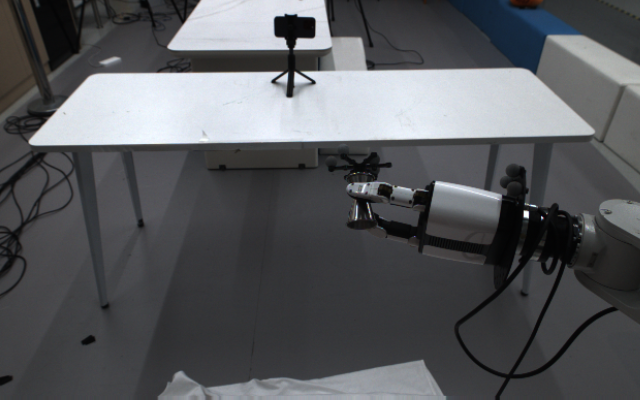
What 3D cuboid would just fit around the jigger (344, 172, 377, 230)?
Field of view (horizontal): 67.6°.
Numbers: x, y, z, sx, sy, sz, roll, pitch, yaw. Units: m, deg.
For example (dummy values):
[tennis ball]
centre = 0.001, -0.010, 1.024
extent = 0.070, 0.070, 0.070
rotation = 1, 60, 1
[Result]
[jigger]
centre = 0.055, -0.001, 0.655
extent = 0.043, 0.043, 0.071
rotation = 1, 70, -2
